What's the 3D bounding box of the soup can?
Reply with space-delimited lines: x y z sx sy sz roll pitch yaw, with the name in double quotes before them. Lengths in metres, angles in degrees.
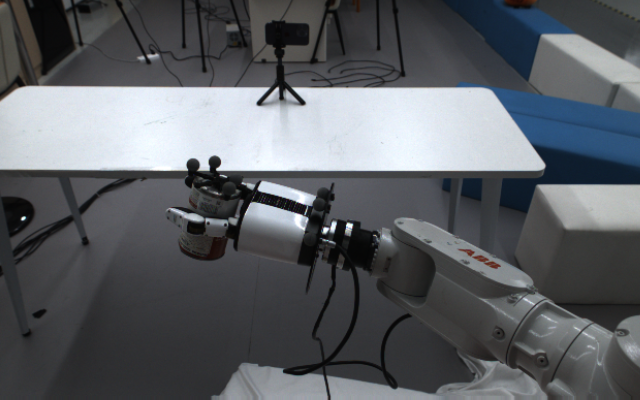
"soup can" -0.152 0.025 0.670 0.067 0.101 0.067 17 22 -7
